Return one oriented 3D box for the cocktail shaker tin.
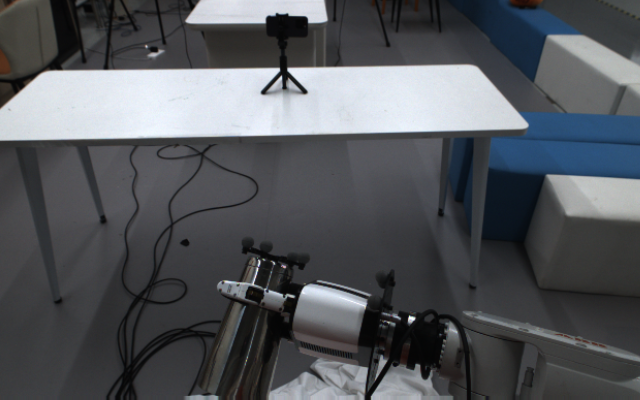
[{"bbox_3d":[-0.085,0.163,0.633,0.093,0.093,0.170,12,77,15],"label":"cocktail shaker tin"}]
